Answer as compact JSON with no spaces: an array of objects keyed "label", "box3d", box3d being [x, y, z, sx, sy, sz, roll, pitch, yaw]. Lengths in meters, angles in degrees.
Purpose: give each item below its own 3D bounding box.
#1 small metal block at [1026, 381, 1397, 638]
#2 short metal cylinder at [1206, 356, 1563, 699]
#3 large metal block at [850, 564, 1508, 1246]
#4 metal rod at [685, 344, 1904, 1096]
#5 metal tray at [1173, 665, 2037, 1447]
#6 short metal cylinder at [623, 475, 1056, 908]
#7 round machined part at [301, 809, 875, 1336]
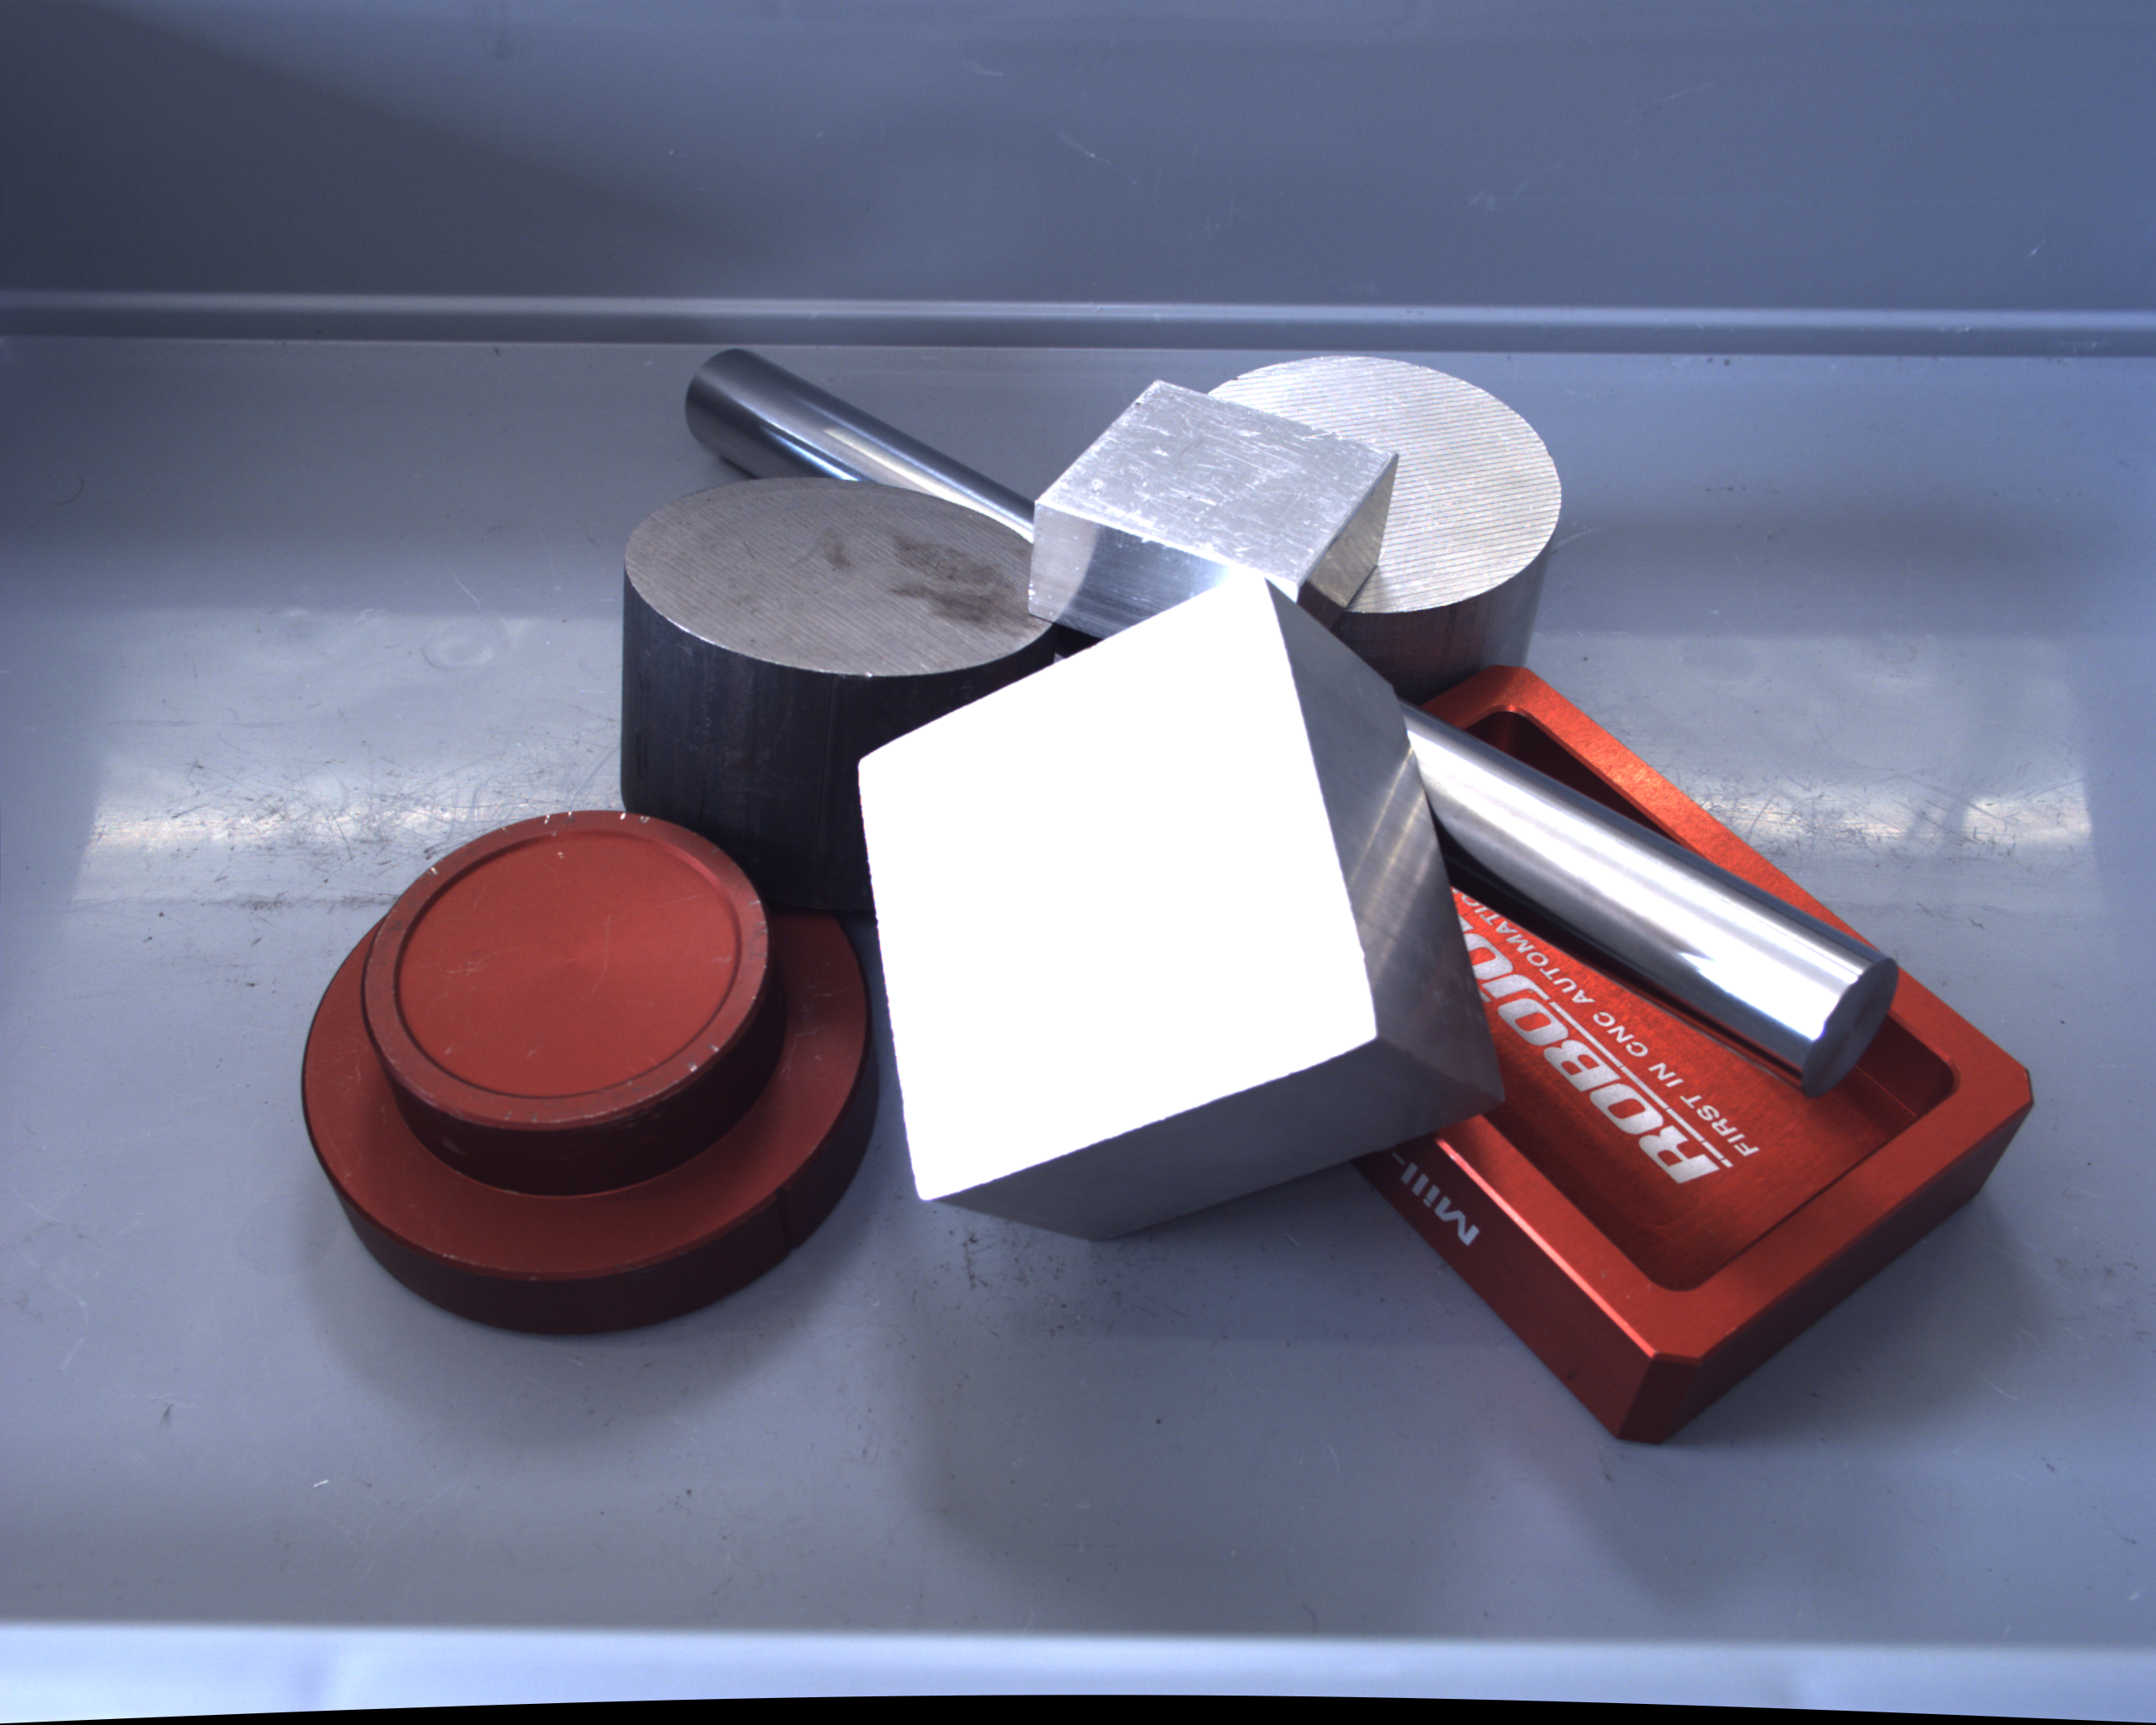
[{"label":"small metal block","box3d":[0.025,-0.060,0.385,0.050,0.025,0.050,21,45,17]},{"label":"short metal cylinder","box3d":[0.057,-0.062,0.440,0.081,0.050,0.080,0,50,0]},{"label":"large metal block","box3d":[0.015,0.010,0.344,0.080,0.050,0.080,-23,62,24]},{"label":"metal rod","box3d":[0.018,-0.043,0.407,0.025,0.025,0.300,-35,49,-26]},{"label":"metal tray","box3d":[0.089,0.028,0.376,0.091,0.030,0.130,-29,56,-23]},{"label":"short metal cylinder","box3d":[-0.046,-0.035,0.401,0.081,0.050,0.080,7,33,-4]},{"label":"round machined part","box3d":[-0.086,0.029,0.366,0.099,0.042,0.098,0,50,0]}]
